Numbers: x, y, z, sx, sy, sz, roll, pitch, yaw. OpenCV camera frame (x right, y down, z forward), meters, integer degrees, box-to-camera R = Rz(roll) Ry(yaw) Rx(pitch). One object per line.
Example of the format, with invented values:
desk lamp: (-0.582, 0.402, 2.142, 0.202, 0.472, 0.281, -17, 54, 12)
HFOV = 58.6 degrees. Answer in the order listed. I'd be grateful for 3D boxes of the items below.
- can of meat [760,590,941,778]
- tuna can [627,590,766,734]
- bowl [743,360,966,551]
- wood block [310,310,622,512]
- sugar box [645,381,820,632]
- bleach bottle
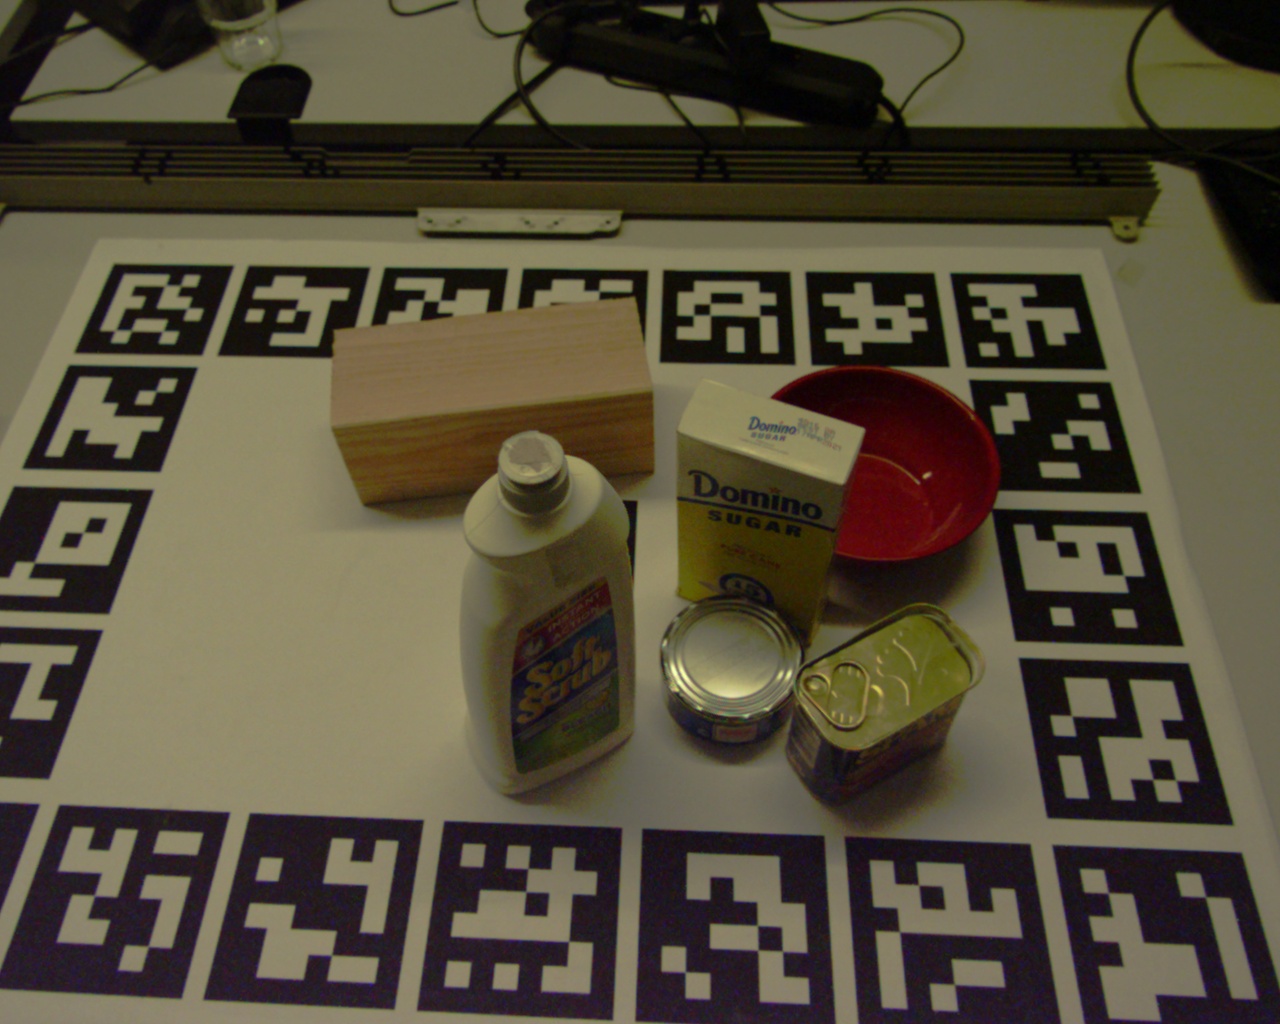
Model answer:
can of meat: (0.120, 0.103, 0.677, 0.101, 0.083, 0.058, -25, 54, -17)
tuna can: (0.035, 0.093, 0.710, 0.086, 0.033, 0.086, -2, 57, 2)
bowl: (0.137, -0.029, 0.784, 0.162, 0.055, 0.162, -4, 53, 4)
wood block: (-0.122, -0.072, 0.809, 0.206, 0.089, 0.091, -8, 58, -4)
sugar box: (0.057, 0.002, 0.688, 0.093, 0.175, 0.045, 16, 58, 17)
bleach bottle: (-0.066, 0.053, 0.615, 0.102, 0.249, 0.068, -22, 56, -13)
